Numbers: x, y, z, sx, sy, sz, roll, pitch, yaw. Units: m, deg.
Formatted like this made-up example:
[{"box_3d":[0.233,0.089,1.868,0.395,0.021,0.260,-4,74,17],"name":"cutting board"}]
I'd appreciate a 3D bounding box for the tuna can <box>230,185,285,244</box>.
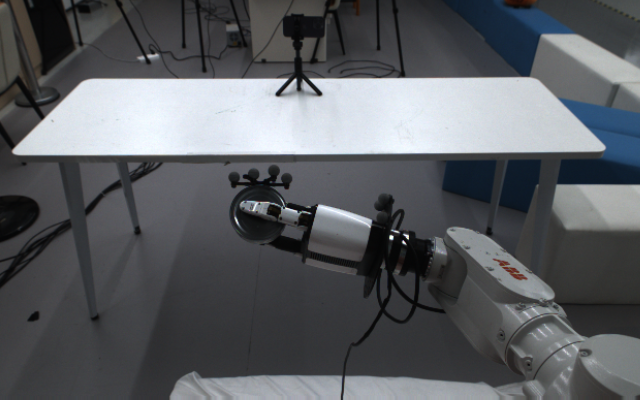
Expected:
[{"box_3d":[-0.085,0.022,0.720,0.085,0.034,0.085,1,70,-4],"name":"tuna can"}]
